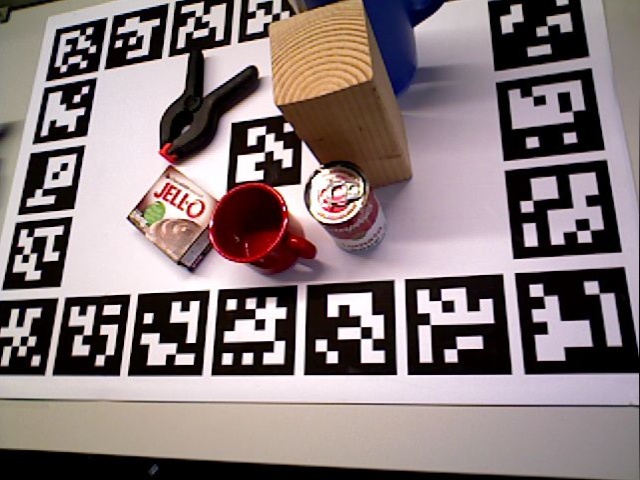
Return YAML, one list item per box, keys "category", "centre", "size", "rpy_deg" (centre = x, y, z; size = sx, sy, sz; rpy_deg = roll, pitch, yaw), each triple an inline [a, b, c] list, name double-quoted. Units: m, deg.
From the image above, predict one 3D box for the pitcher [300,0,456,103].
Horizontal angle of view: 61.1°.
- category: "pitcher"
  centre: [0.058, -0.253, 0.558]
  size: [0.190, 0.243, 0.132]
  rpy_deg: [-5, 67, 19]

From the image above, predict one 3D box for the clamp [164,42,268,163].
- category: "clamp"
  centre: [-0.157, -0.178, 0.727]
  size: [0.122, 0.037, 0.164]
  rpy_deg: [28, 83, 18]

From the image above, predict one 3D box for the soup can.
- category: "soup can"
  centre: [0.028, -0.028, 0.566]
  size: [0.068, 0.102, 0.067]
  rpy_deg: [-6, 71, 16]

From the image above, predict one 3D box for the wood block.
- category: "wood block"
  centre: [0.033, -0.131, 0.541]
  size: [0.090, 0.207, 0.090]
  rpy_deg: [-5, 68, 12]

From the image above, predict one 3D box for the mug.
- category: "mug"
  centre: [-0.059, 0.001, 0.599]
  size: [0.117, 0.082, 0.093]
  rpy_deg: [34, 82, 27]

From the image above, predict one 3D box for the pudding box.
- category: "pudding box"
  centre: [-0.185, -0.027, 0.679]
  size: [0.114, 0.038, 0.090]
  rpy_deg: [36, 89, 26]
